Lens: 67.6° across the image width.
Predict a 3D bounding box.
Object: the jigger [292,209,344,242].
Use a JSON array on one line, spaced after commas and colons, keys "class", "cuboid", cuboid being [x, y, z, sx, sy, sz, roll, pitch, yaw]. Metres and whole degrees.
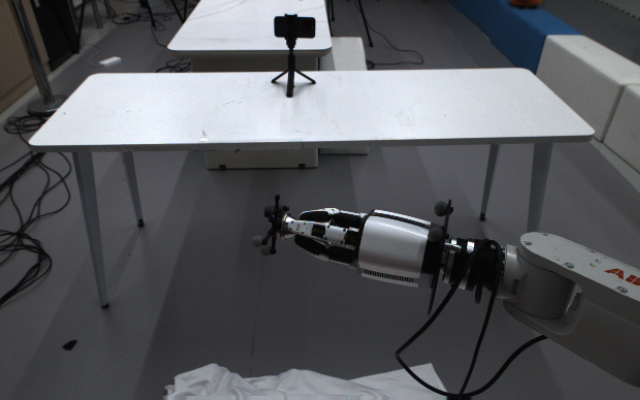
[{"class": "jigger", "cuboid": [-0.011, 0.038, 0.690, 0.071, 0.043, 0.043, 8, 35, 16]}]
